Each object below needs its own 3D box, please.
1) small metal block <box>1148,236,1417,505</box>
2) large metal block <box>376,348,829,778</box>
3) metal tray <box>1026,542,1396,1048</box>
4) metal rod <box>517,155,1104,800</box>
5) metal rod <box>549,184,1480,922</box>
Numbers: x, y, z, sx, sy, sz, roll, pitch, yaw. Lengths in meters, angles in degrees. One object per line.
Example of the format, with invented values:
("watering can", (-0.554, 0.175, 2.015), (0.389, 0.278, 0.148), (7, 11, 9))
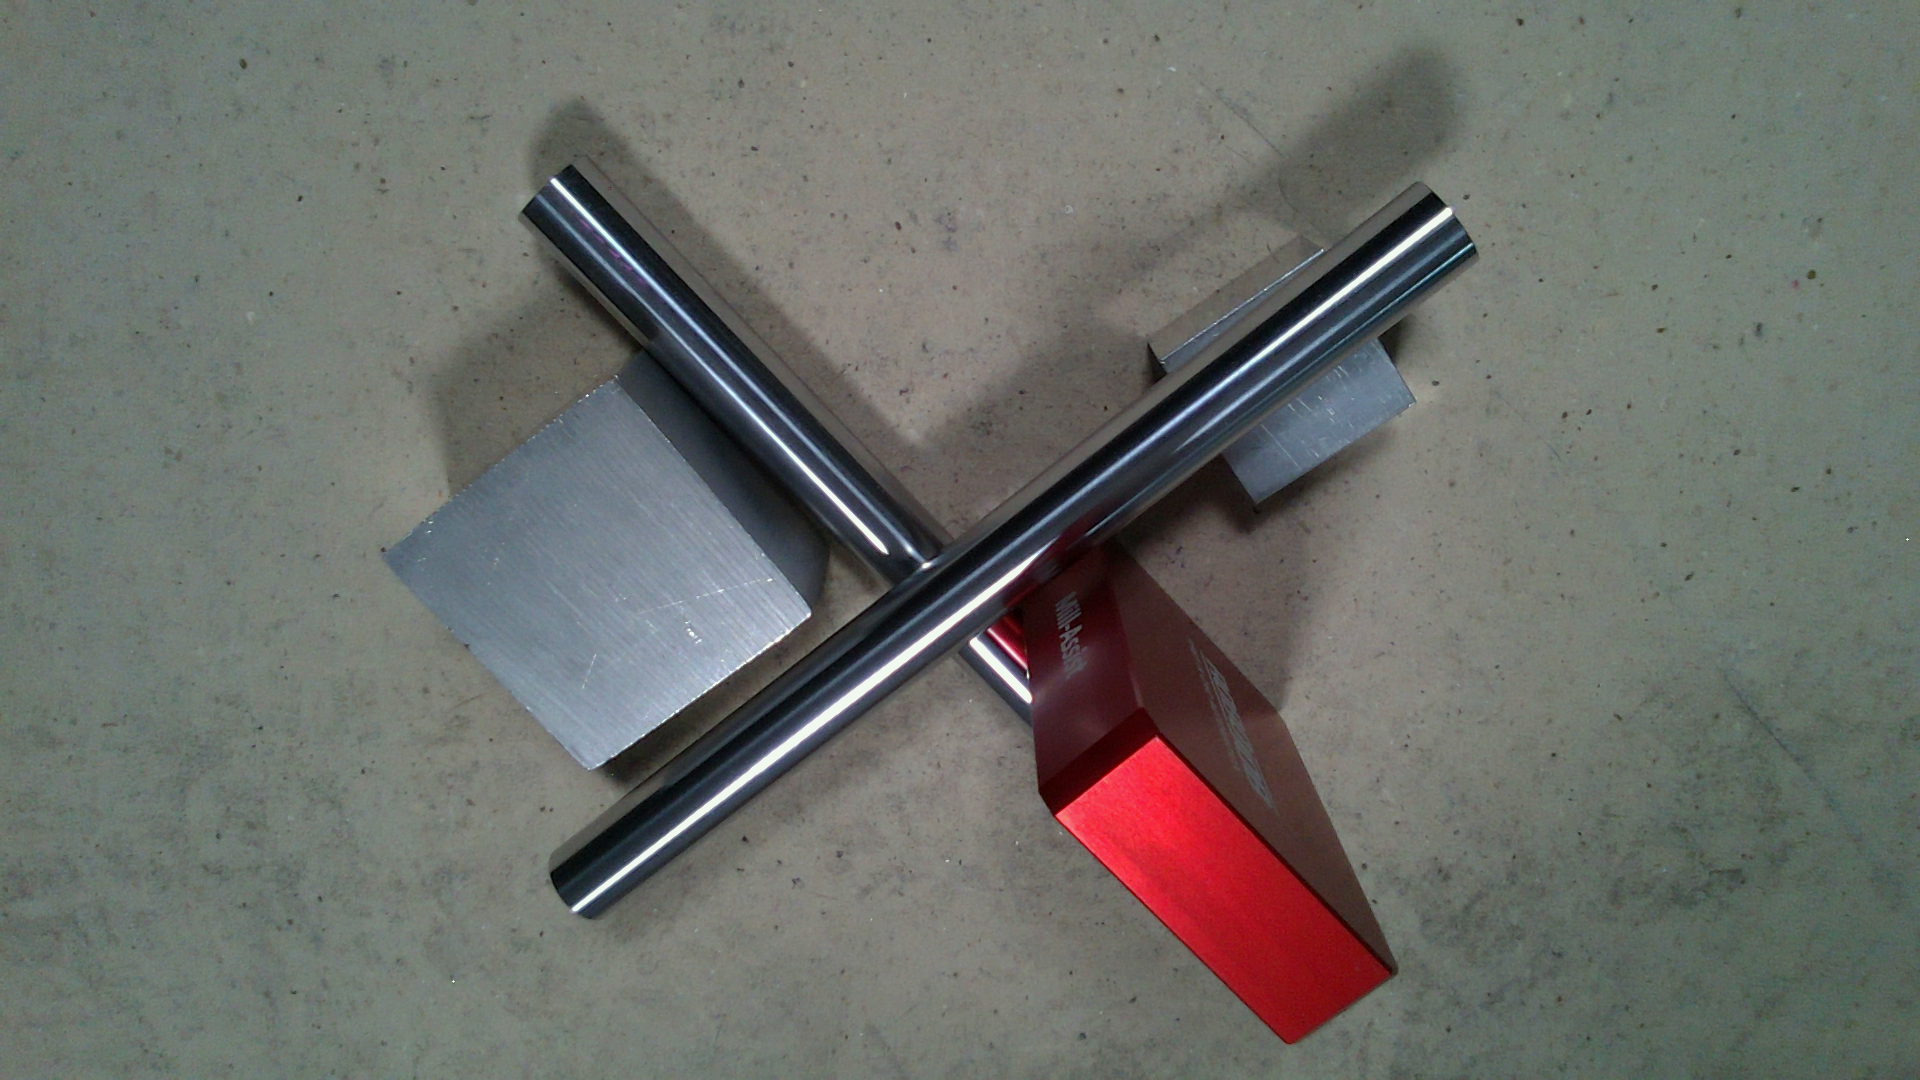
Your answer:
("small metal block", (0.087, -0.047, 0.377), (0.050, 0.025, 0.050), (-34, 107, 11))
("large metal block", (-0.094, 0.004, 0.381), (0.080, 0.050, 0.080), (-35, 107, 12))
("metal tray", (0.058, 0.056, 0.358), (0.030, 0.130, 0.090), (-40, 105, 14))
("metal rod", (-0.006, 0.013, 0.399), (0.025, 0.025, 0.300), (-40, 106, 13))
("metal rod", (0.005, 0.012, 0.371), (0.300, 0.025, 0.025), (-38, 106, 13))
